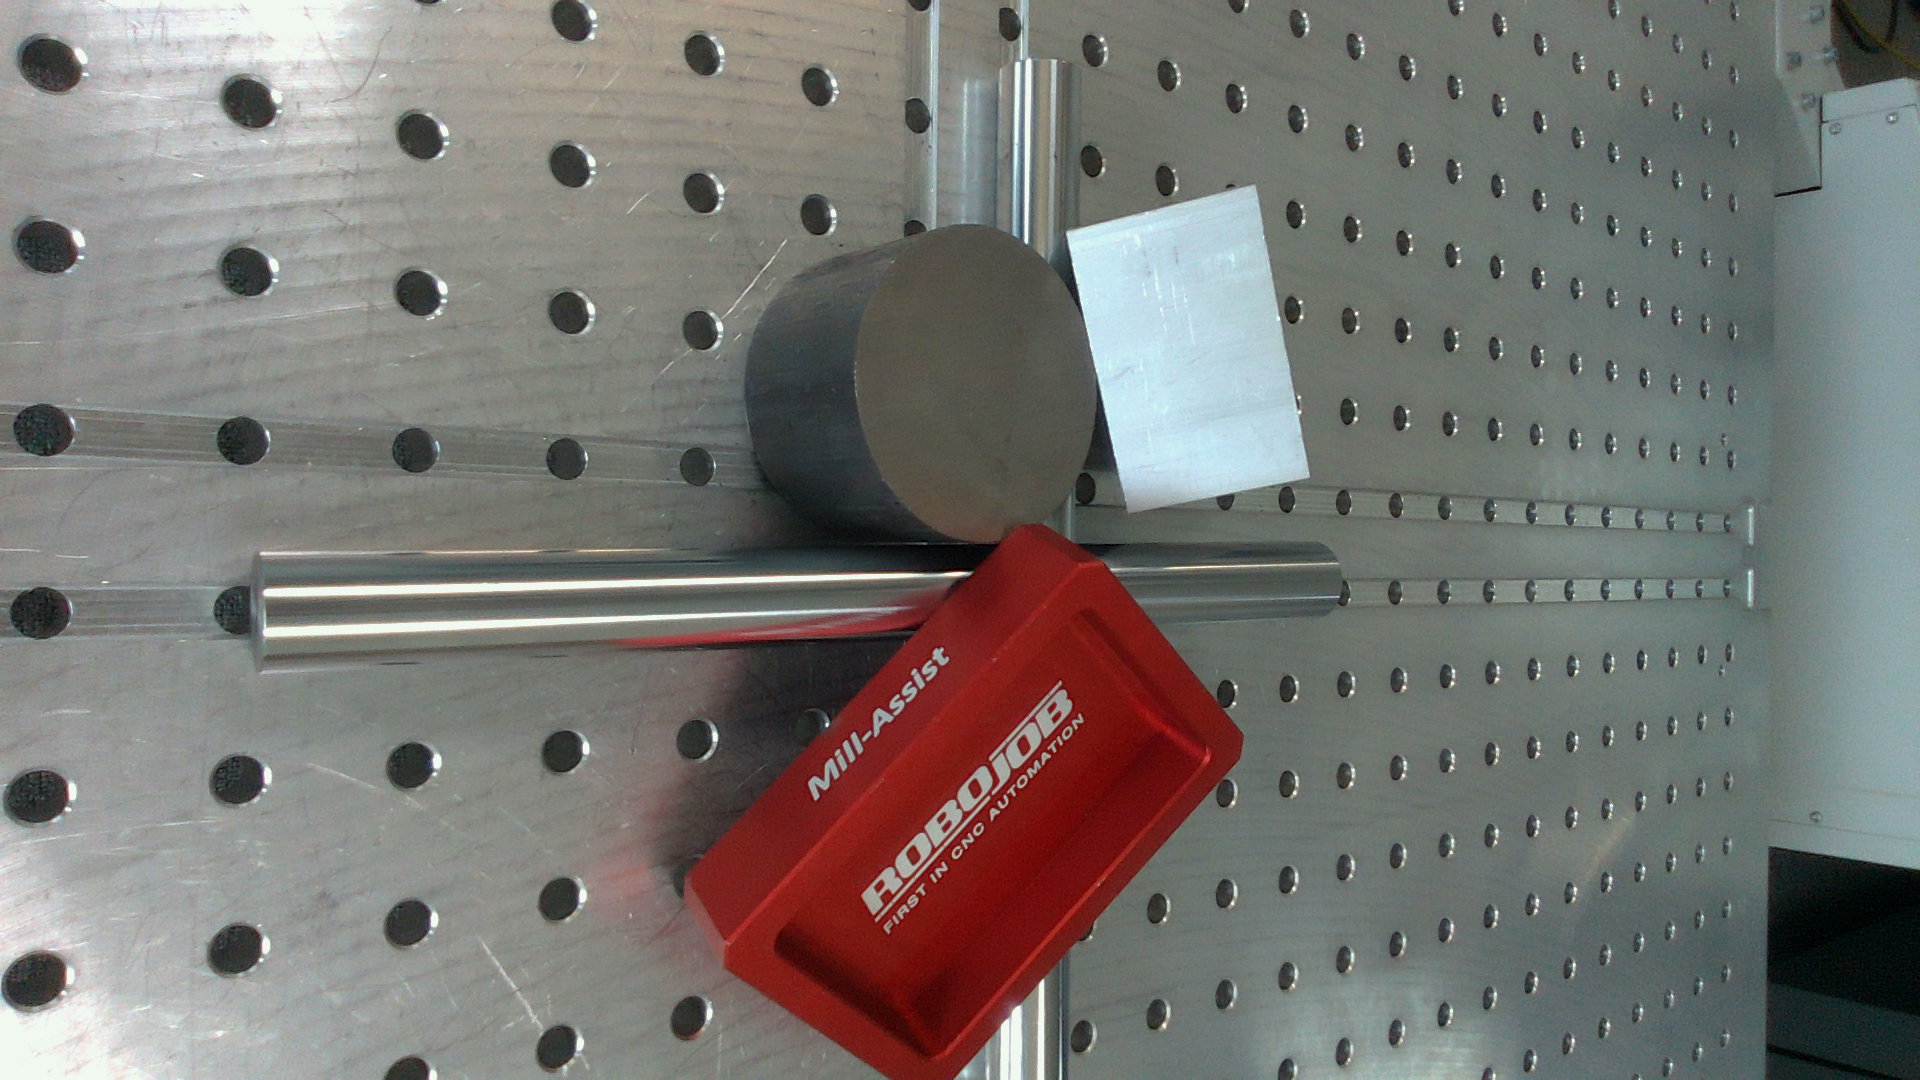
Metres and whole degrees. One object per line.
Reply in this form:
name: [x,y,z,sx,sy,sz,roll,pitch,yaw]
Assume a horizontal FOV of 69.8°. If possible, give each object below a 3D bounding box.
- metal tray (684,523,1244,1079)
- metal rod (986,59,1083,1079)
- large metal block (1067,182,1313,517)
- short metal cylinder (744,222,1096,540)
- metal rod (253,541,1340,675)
metal tray: [0.005,0.071,0.359,0.130,0.030,0.090,-46,126,-6]
metal rod: [0.022,0.011,0.410,0.025,0.025,0.300,1,90,-40]
large metal block: [0.068,-0.059,0.406,0.080,0.050,0.080,-57,134,-73]
short metal cylinder: [-0.010,-0.040,0.367,0.080,0.050,0.080,0,90,-40]
metal rod: [-0.015,0.014,0.358,0.301,0.025,0.025,0,90,-33]
